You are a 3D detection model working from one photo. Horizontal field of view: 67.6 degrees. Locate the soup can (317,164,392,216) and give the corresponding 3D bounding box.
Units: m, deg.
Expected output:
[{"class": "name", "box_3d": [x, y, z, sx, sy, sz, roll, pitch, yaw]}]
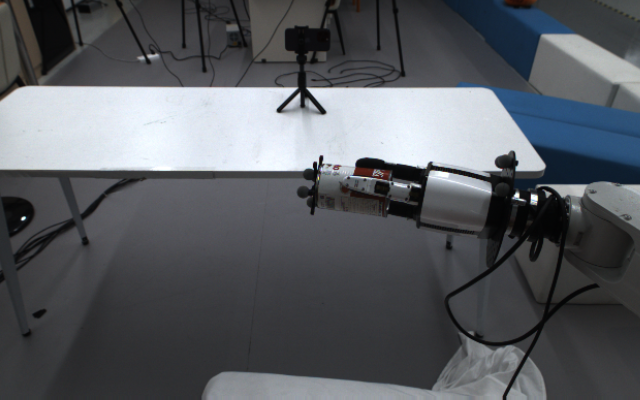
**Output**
[{"class": "soup can", "box_3d": [0.051, -0.015, 0.694, 0.101, 0.067, 0.067, 7, 35, 10]}]
